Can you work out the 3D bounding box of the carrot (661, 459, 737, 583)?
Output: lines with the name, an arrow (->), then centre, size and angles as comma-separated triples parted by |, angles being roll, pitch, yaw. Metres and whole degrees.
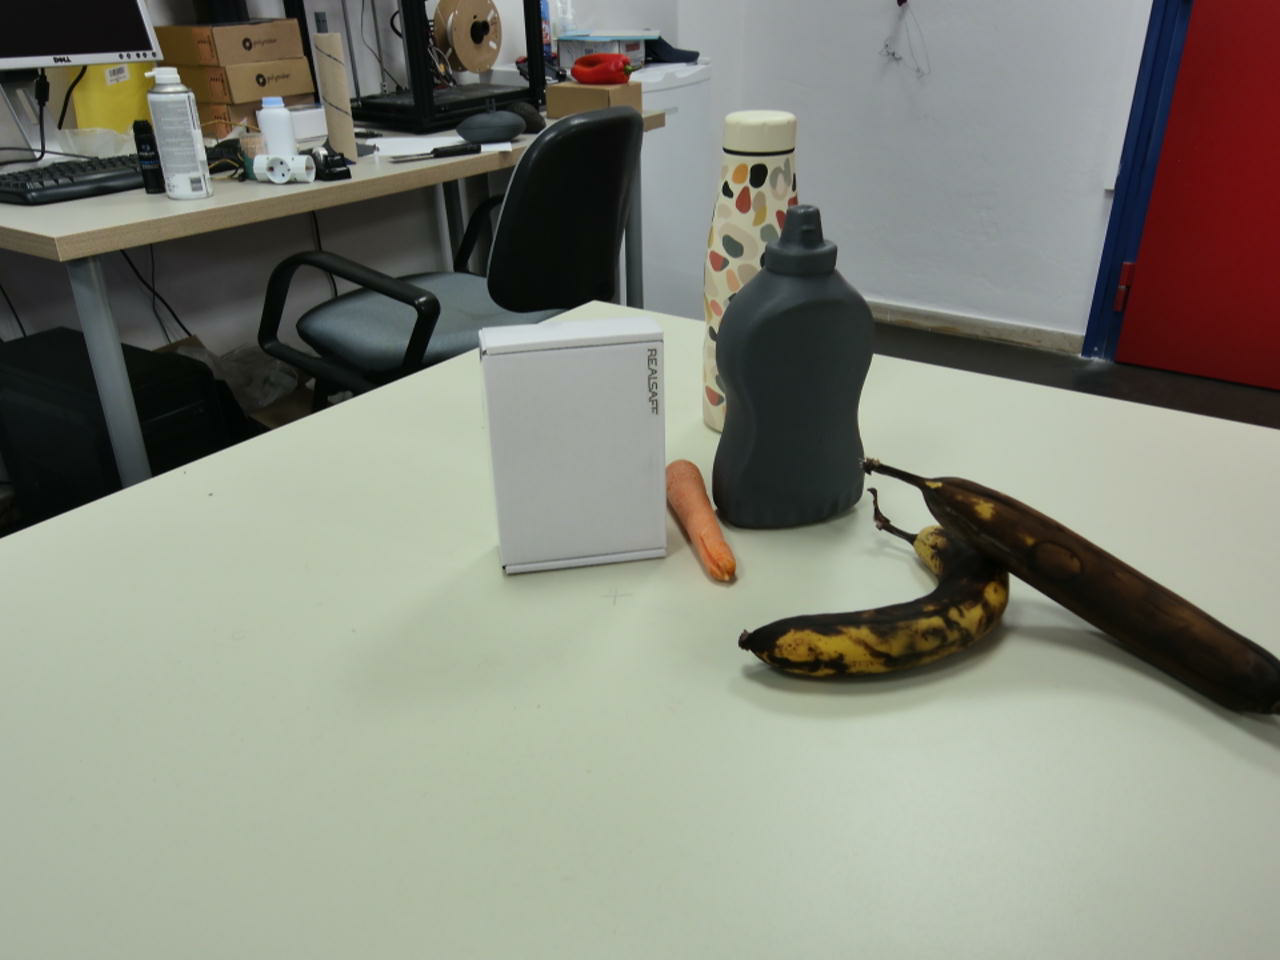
carrot -> 0.037, 0.022, 0.648 | 0.030, 0.032, 0.136 | -4, 25, -9
